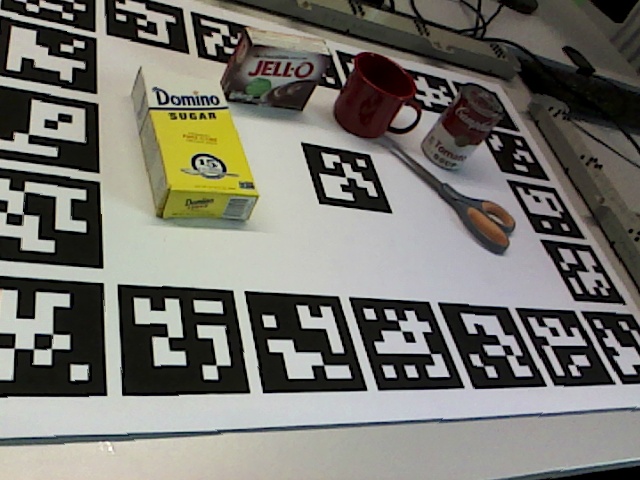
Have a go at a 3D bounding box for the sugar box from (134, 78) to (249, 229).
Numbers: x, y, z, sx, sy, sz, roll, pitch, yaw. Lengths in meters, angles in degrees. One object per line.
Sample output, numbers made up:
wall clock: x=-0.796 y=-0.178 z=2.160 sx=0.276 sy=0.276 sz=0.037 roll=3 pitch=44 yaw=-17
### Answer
sugar box: x=-0.138 y=-0.093 z=0.652 sx=0.092 sy=0.045 sz=0.177 roll=1 pitch=55 yaw=-28

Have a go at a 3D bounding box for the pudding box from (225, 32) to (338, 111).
pudding box: x=-0.048 y=-0.204 z=0.757 sx=0.113 sy=0.090 sz=0.039 roll=-4 pitch=63 yaw=-34

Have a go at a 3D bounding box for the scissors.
scissors: x=0.178 y=-0.054 z=0.820 sx=0.203 sy=0.016 sz=0.087 roll=42 pitch=54 yaw=5

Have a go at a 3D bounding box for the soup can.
soup can: x=0.191 y=-0.149 z=0.860 sx=0.067 sy=0.102 sz=0.068 roll=16 pitch=46 yaw=-18

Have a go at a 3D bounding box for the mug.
mug: x=0.080 y=-0.189 z=0.831 sx=0.117 sy=0.081 sz=0.093 roll=44 pitch=47 yaw=11
